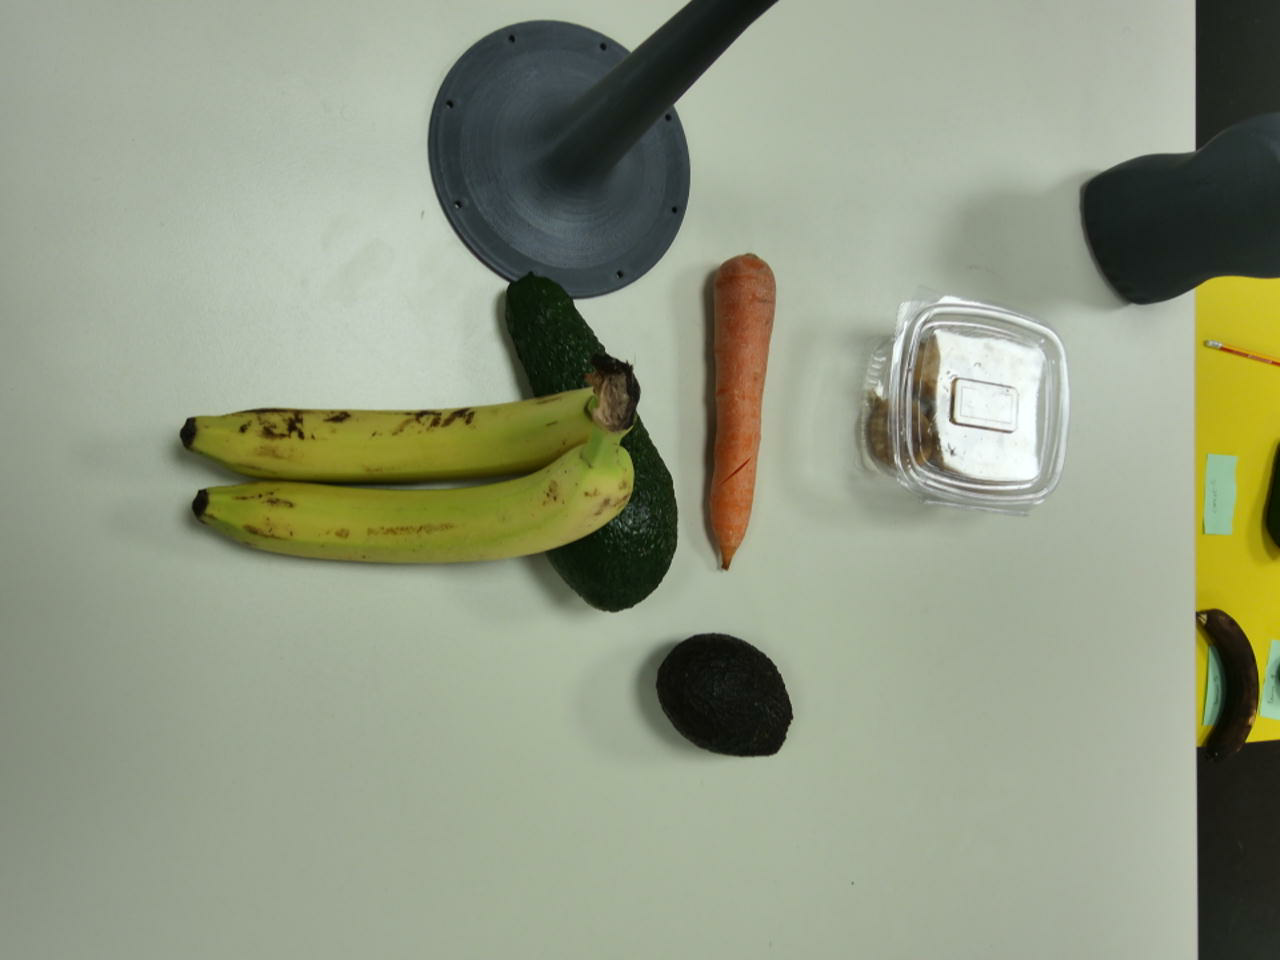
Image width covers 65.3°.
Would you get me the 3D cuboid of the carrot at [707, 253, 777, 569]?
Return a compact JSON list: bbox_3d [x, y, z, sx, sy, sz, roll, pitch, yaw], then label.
[{"bbox_3d":[0.063,-0.040,0.616,0.039,0.041,0.196,1,90,-23],"label":"carrot"}]
